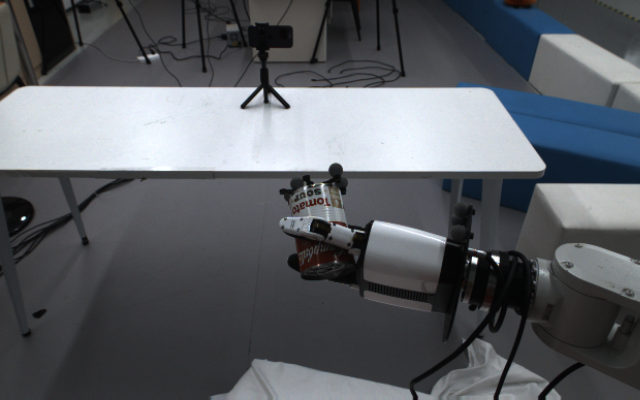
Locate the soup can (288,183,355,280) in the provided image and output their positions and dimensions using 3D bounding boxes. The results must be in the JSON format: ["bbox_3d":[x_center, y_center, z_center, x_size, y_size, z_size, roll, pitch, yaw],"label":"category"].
[{"bbox_3d":[0.004,0.039,0.587,0.067,0.067,0.101,-6,67,-12],"label":"soup can"}]
